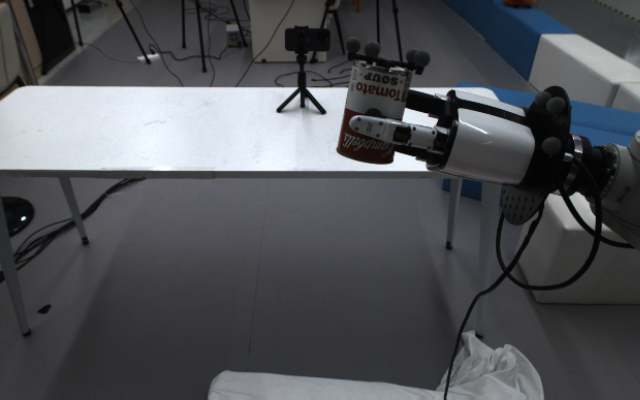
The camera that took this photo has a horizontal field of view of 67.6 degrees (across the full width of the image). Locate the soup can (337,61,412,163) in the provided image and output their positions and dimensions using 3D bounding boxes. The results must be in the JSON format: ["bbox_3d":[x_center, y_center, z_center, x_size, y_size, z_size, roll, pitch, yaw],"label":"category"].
[{"bbox_3d":[0.062,-0.100,0.546,0.067,0.101,0.067,9,20,-3],"label":"soup can"}]
